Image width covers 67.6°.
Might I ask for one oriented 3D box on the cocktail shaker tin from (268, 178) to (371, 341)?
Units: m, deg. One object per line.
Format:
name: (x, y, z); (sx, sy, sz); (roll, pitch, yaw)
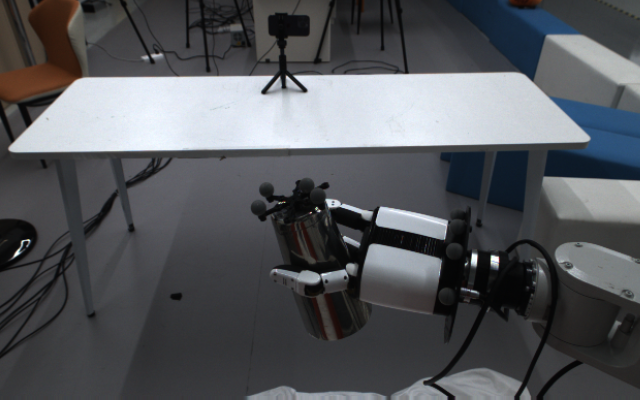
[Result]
cocktail shaker tin: (-0.001, 0.079, 0.589); (0.093, 0.170, 0.093); (-15, 27, 8)
